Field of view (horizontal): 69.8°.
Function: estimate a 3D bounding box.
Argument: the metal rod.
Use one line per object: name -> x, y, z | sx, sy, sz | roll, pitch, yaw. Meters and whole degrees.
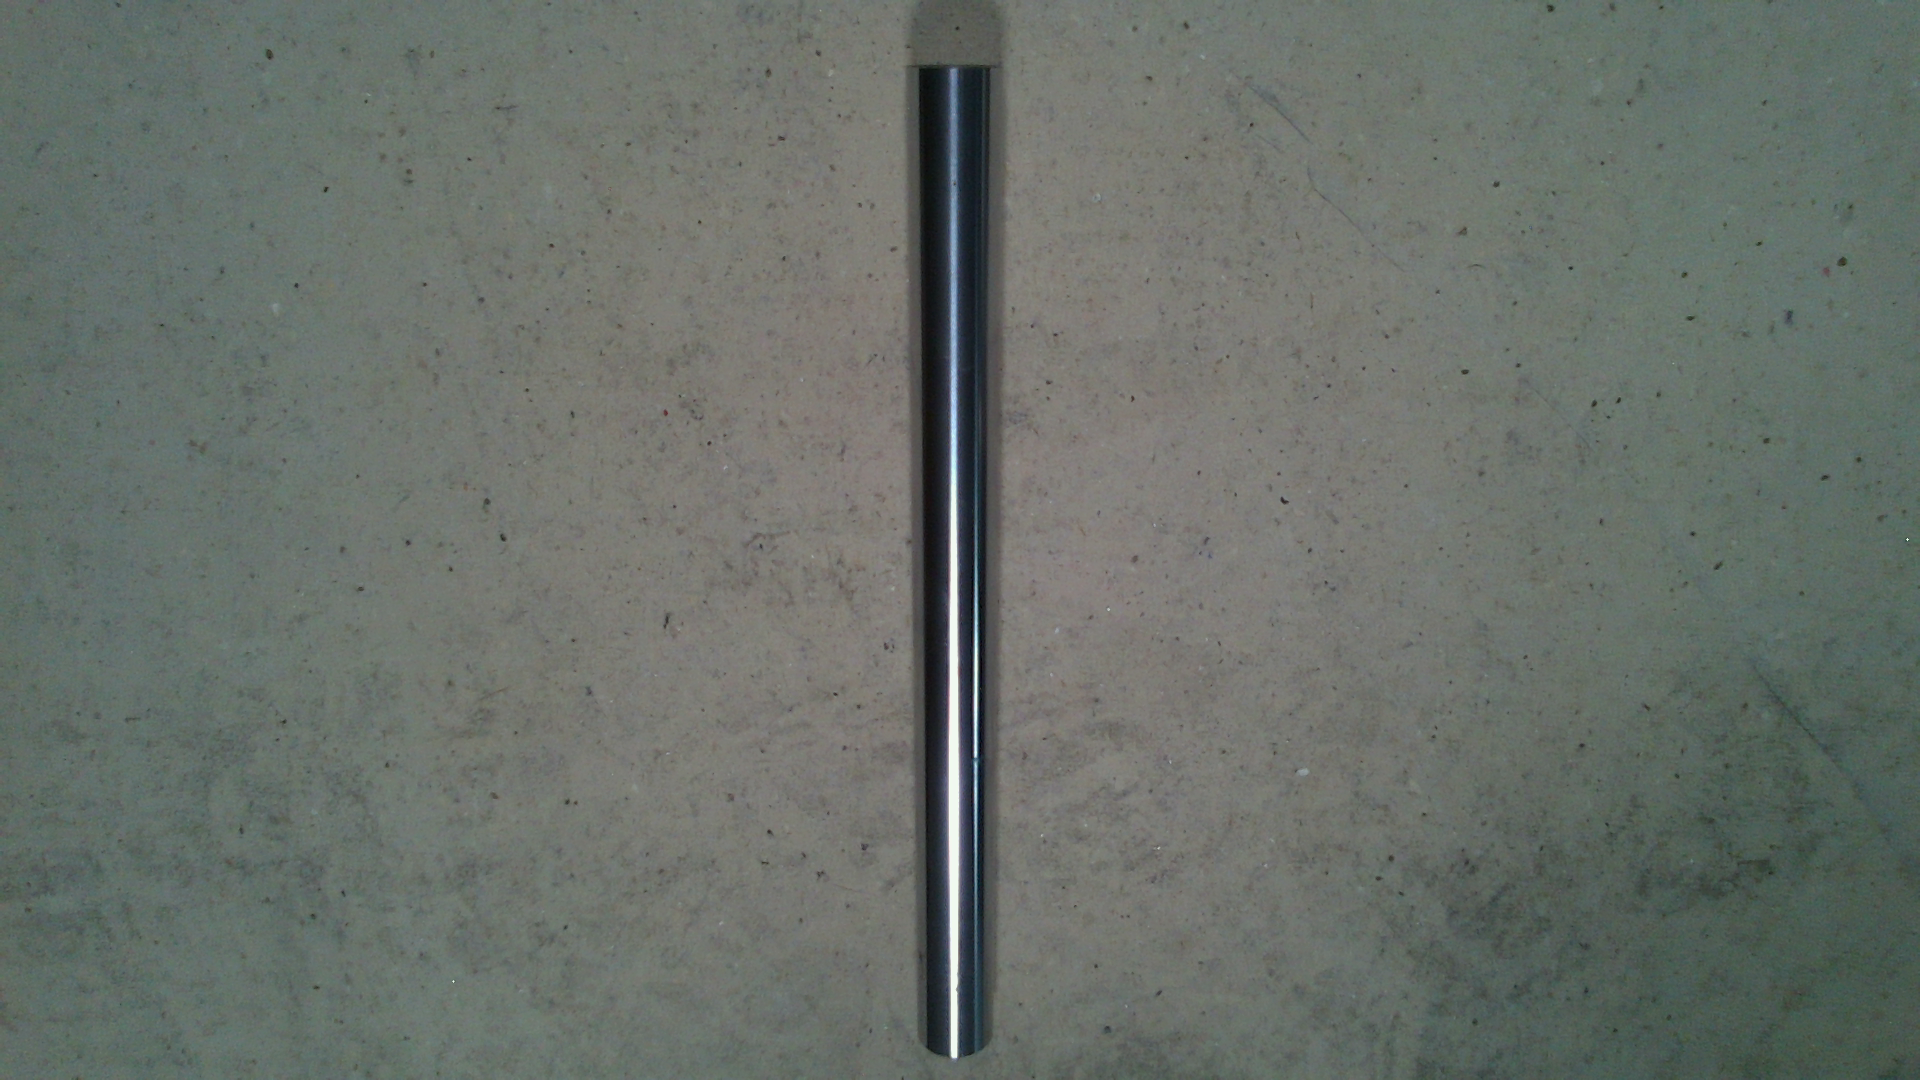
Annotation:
metal rod -> -0.002, 0.020, 0.401 | 0.025, 0.025, 0.300 | 0, 110, 0
